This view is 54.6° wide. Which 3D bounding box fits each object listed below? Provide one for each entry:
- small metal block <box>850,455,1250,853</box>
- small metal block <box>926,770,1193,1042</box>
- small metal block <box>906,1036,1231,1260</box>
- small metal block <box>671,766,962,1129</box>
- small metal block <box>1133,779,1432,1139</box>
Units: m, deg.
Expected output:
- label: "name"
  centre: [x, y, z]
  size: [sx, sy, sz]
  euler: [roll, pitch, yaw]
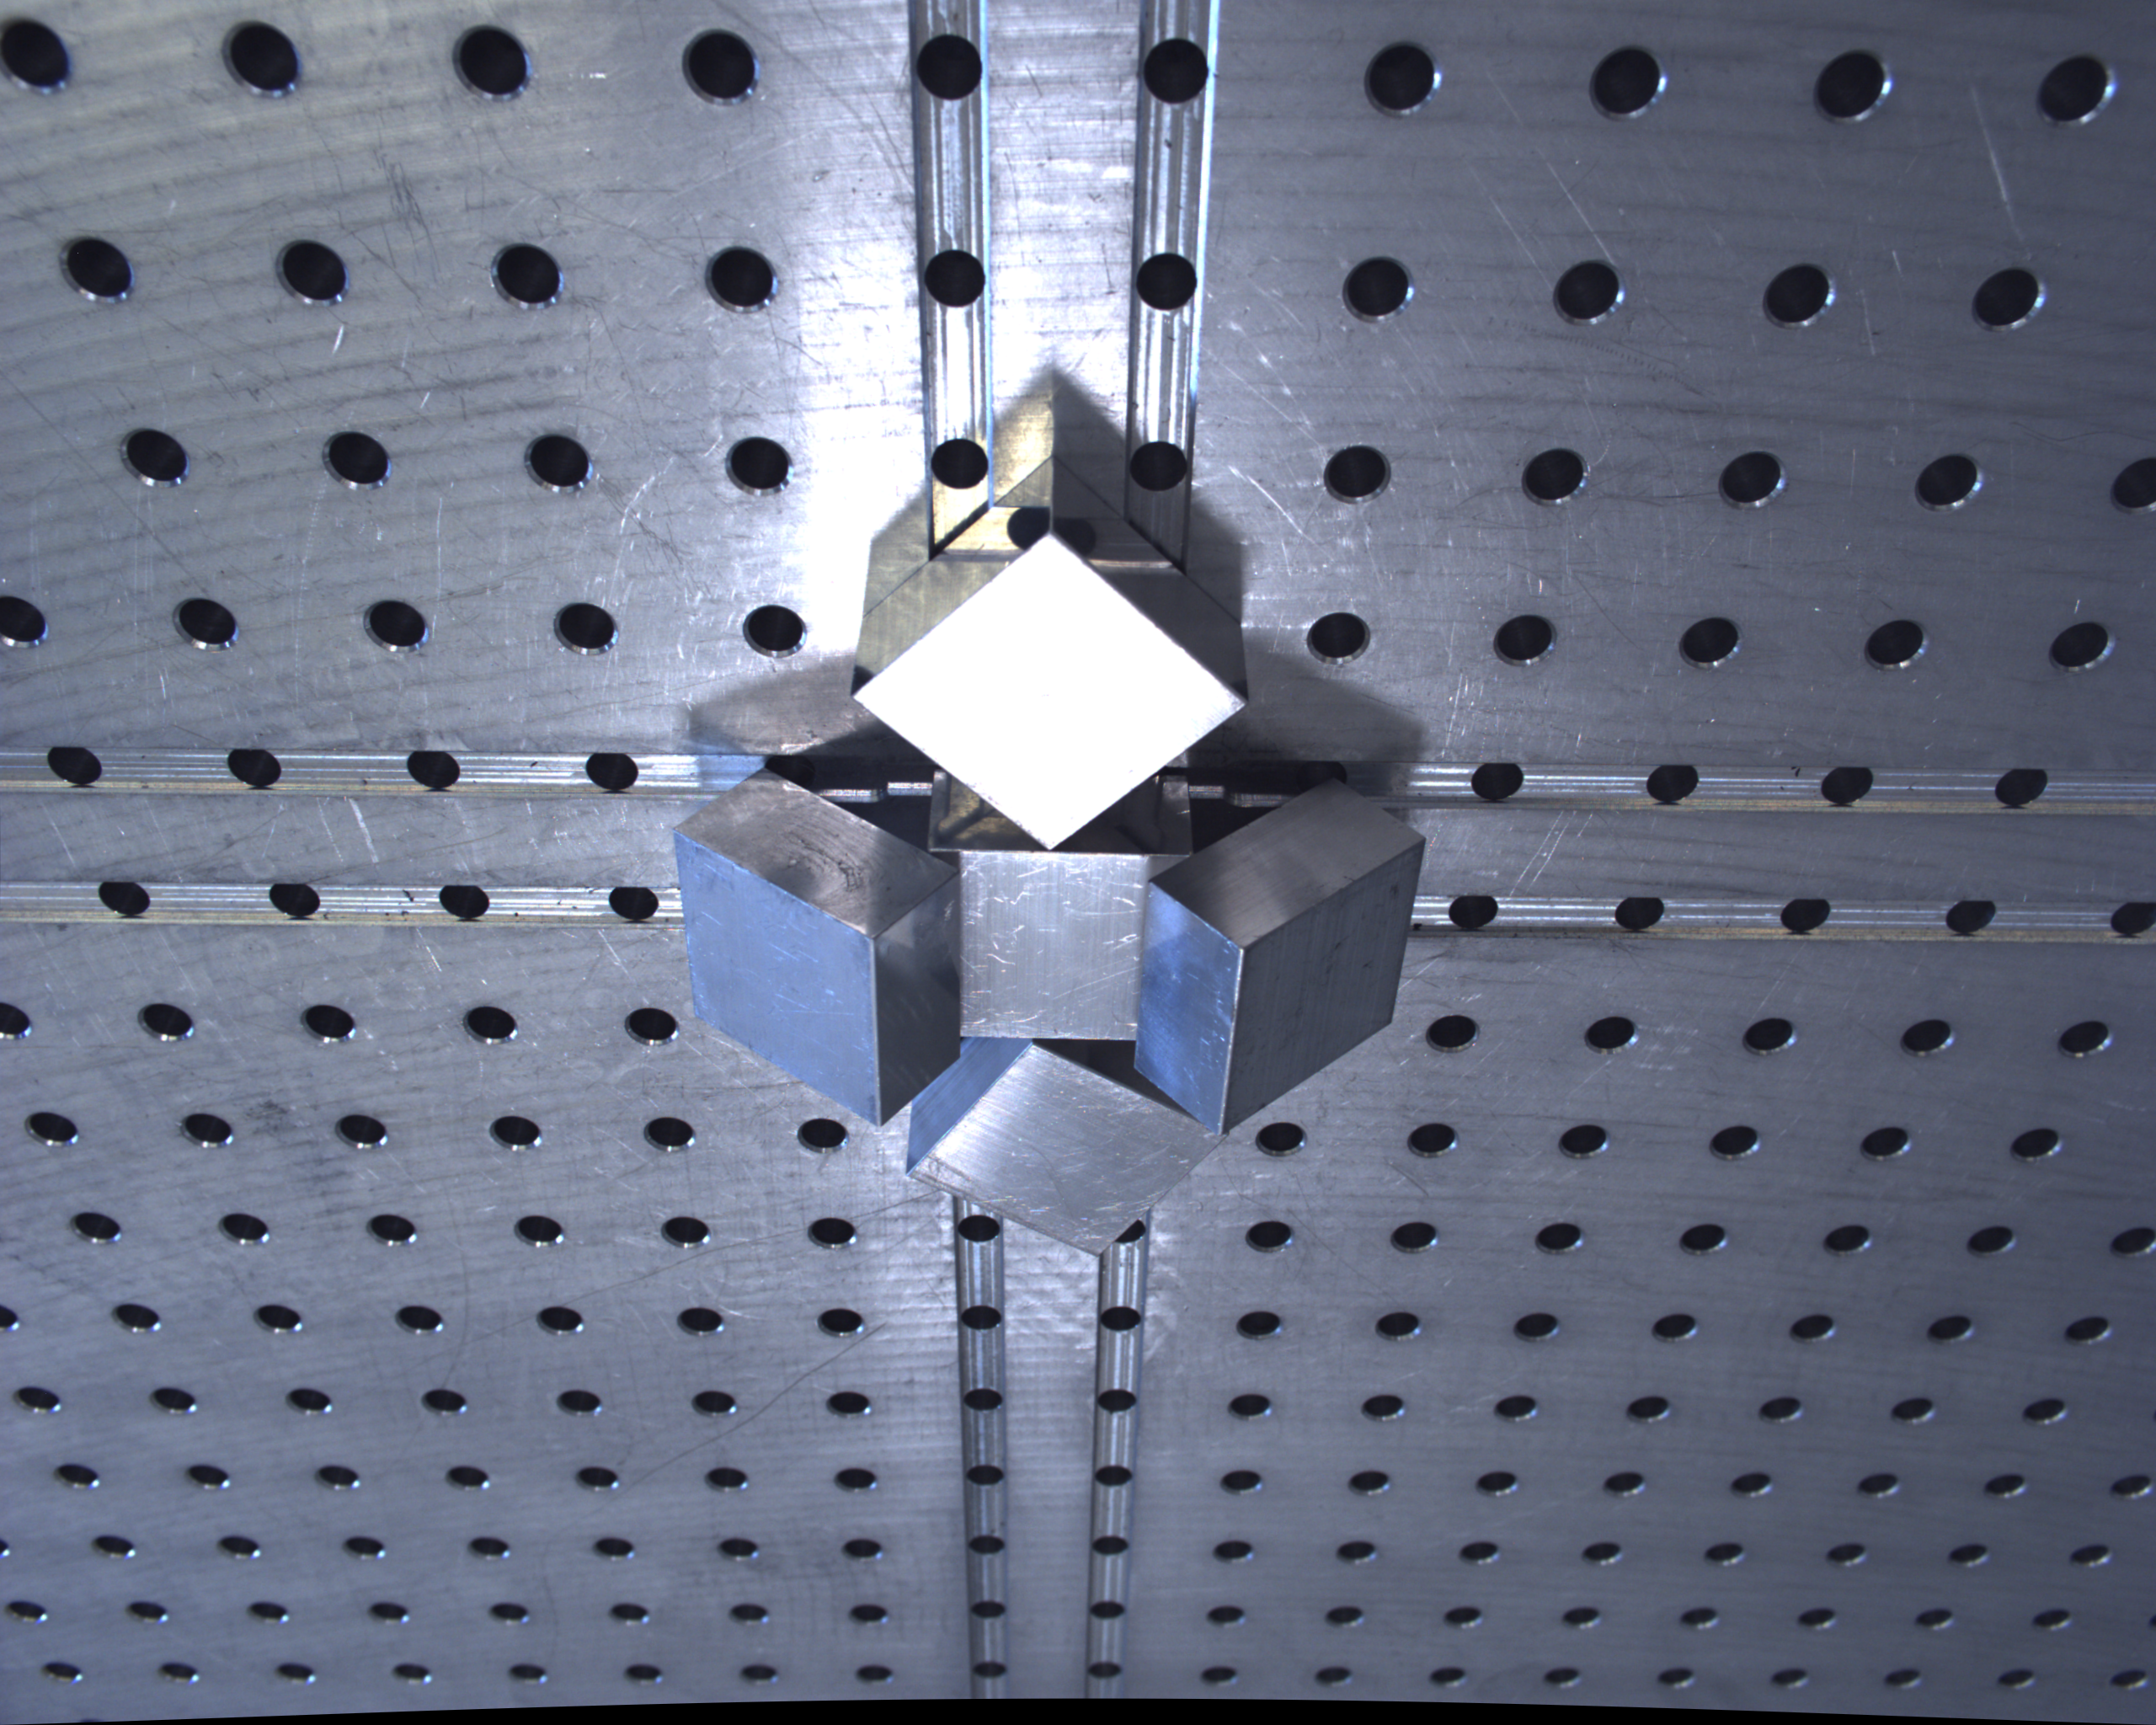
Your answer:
- label: "small metal block"
  centre: [-0.005, -0.037, 0.380]
  size: [0.050, 0.025, 0.050]
  euler: [-37, 121, 26]
- label: "small metal block"
  centre: [-0.004, 0.009, 0.418]
  size: [0.050, 0.025, 0.050]
  euler: [1, 129, -1]
- label: "small metal block"
  centre: [-0.002, 0.055, 0.457]
  size: [0.050, 0.025, 0.050]
  euler: [28, 125, -20]
- label: "small metal block"
  centre: [-0.050, 0.016, 0.408]
  size: [0.050, 0.025, 0.050]
  euler: [27, 137, 25]
- label: "small metal block"
  centre: [0.039, 0.019, 0.410]
  size: [0.050, 0.025, 0.050]
  euler: [-27, 139, -31]
